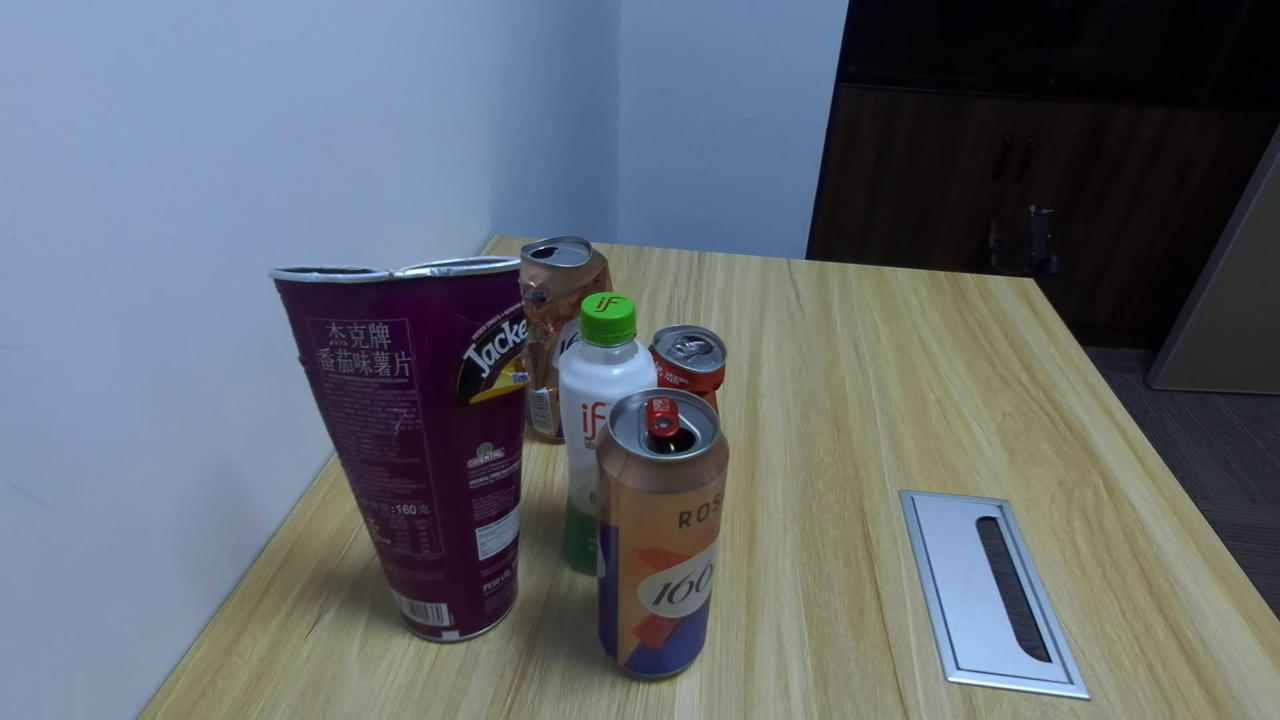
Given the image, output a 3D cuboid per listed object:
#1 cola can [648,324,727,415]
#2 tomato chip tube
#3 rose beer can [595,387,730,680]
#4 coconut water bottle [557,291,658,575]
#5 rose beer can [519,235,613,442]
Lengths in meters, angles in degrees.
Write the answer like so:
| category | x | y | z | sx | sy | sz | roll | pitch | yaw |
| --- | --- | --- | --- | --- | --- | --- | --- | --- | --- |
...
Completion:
| category | x | y | z | sx | sy | sz | roll | pitch | yaw |
| --- | --- | --- | --- | --- | --- | --- | --- | --- | --- |
| cola can | 0.030 | 0.034 | 0.534 | 0.069 | 0.112 | 0.065 | 0 | 35 | -8 |
| tomato chip tube | -0.111 | 0.054 | 0.391 | 0.090 | 0.236 | 0.078 | 18 | 37 | 26 |
| rose beer can | 0.010 | 0.100 | 0.388 | 0.068 | 0.169 | 0.068 | 2 | 33 | -1 |
| coconut water bottle | -0.021 | 0.048 | 0.443 | 0.063 | 0.189 | 0.063 | 2 | 33 | -1 |
| rose beer can | -0.055 | -0.010 | 0.533 | 0.068 | 0.162 | 0.074 | -6 | 9 | 20 |
